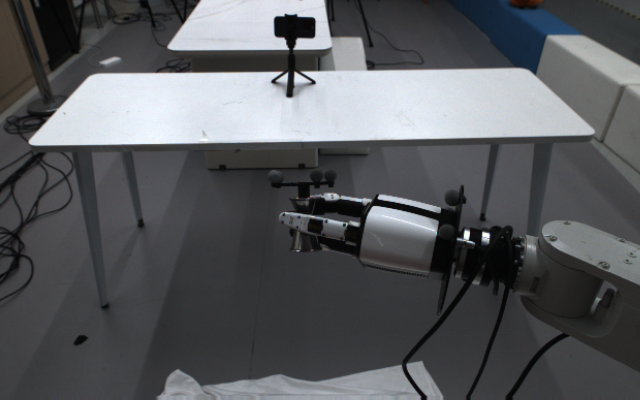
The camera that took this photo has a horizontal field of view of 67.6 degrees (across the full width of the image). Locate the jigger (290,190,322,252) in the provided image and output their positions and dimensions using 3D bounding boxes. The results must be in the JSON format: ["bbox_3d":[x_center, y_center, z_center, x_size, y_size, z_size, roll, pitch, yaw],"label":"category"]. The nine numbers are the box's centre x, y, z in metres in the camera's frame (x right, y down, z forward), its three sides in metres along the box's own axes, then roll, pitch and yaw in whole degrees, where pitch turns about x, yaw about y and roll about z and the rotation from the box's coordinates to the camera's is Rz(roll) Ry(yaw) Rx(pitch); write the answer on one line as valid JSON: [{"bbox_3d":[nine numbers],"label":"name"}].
[{"bbox_3d":[-0.020,0.030,0.623,0.043,0.071,0.043,-2,3,0],"label":"jigger"}]
